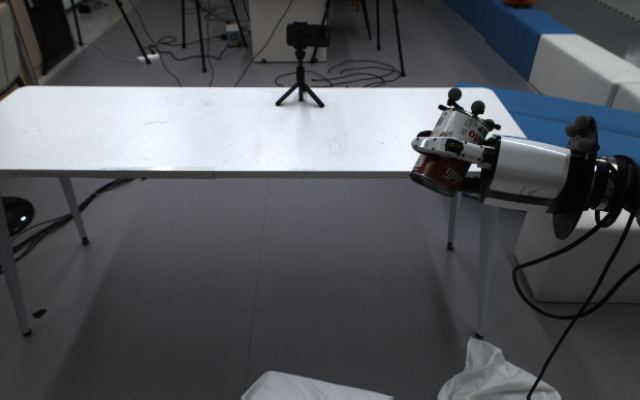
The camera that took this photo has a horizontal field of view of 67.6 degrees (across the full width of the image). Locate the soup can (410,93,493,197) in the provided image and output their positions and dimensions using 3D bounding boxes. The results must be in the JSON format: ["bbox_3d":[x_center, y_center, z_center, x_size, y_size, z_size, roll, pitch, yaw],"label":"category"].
[{"bbox_3d":[0.174,-0.064,0.649,0.067,0.101,0.067,29,-3,1],"label":"soup can"}]
